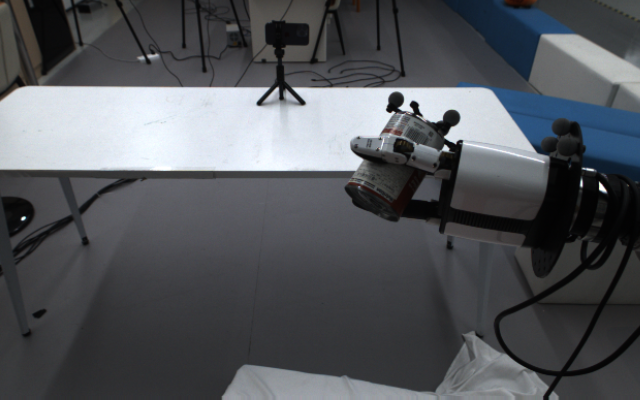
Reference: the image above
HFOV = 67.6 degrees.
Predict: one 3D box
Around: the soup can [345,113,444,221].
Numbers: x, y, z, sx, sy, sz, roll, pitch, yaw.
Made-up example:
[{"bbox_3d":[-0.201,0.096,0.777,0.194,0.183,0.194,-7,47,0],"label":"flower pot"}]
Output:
[{"bbox_3d":[0.082,-0.039,0.528,0.067,0.067,0.101,27,78,32],"label":"soup can"}]
